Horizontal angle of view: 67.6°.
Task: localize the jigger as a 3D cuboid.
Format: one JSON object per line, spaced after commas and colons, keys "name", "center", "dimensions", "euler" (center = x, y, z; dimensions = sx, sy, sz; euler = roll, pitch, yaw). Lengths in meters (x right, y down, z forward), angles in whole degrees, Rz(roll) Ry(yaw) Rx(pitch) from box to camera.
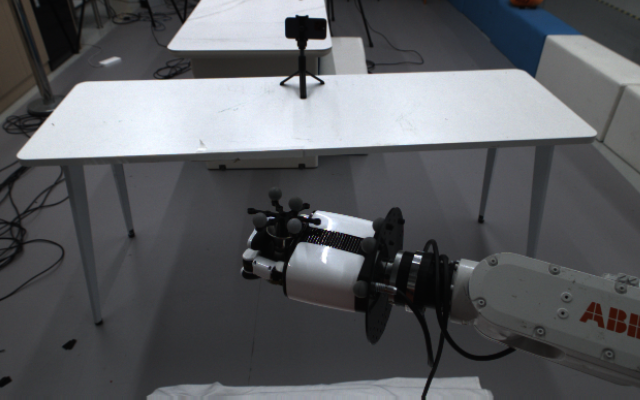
{"name": "jigger", "center": [-0.045, 0.065, 0.599], "dimensions": [0.043, 0.071, 0.043], "euler": [5, 26, -3]}
